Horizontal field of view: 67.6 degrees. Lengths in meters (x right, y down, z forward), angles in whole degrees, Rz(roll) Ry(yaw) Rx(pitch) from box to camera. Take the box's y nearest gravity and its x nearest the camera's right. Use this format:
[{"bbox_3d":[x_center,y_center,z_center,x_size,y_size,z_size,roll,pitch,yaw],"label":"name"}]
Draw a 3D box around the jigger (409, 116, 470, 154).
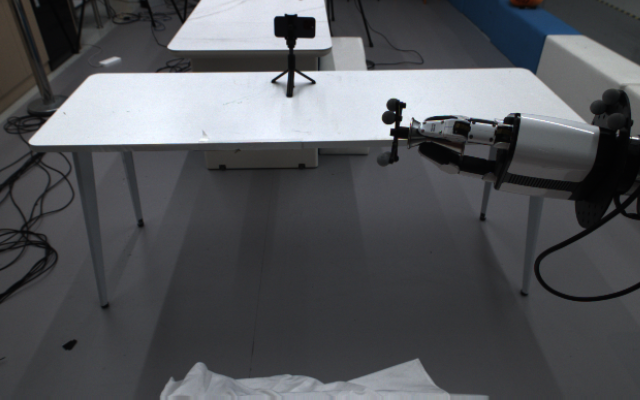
[{"bbox_3d":[0.152,-0.083,0.604,0.071,0.043,0.043,8,35,14],"label":"jigger"}]
